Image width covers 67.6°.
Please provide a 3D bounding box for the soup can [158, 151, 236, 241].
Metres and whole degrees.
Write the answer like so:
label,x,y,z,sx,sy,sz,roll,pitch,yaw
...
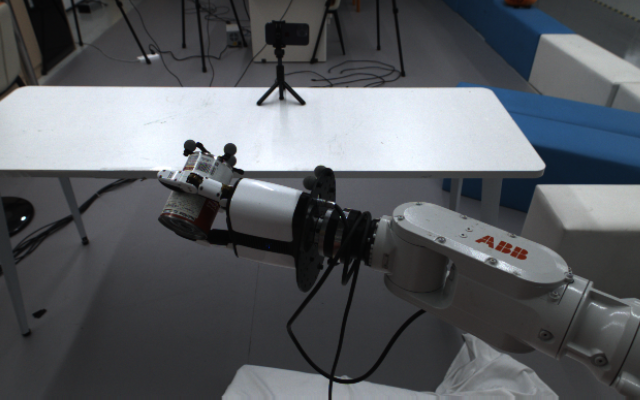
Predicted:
label,x,y,z,sx,sy,sz,roll,pitch,yaw
soup can,-0.165,-0.004,0.655,0.067,0.067,0.101,12,66,14
